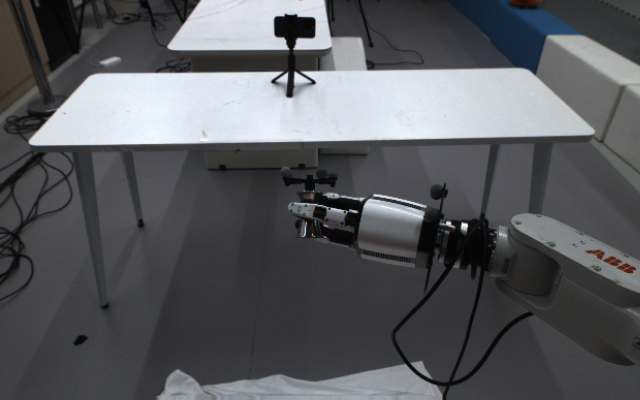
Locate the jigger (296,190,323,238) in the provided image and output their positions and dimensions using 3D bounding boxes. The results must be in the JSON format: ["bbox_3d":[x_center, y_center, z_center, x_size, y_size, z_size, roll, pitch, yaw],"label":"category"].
[{"bbox_3d":[-0.017,0.022,0.717,0.043,0.071,0.043,1,-5,0],"label":"jigger"}]
